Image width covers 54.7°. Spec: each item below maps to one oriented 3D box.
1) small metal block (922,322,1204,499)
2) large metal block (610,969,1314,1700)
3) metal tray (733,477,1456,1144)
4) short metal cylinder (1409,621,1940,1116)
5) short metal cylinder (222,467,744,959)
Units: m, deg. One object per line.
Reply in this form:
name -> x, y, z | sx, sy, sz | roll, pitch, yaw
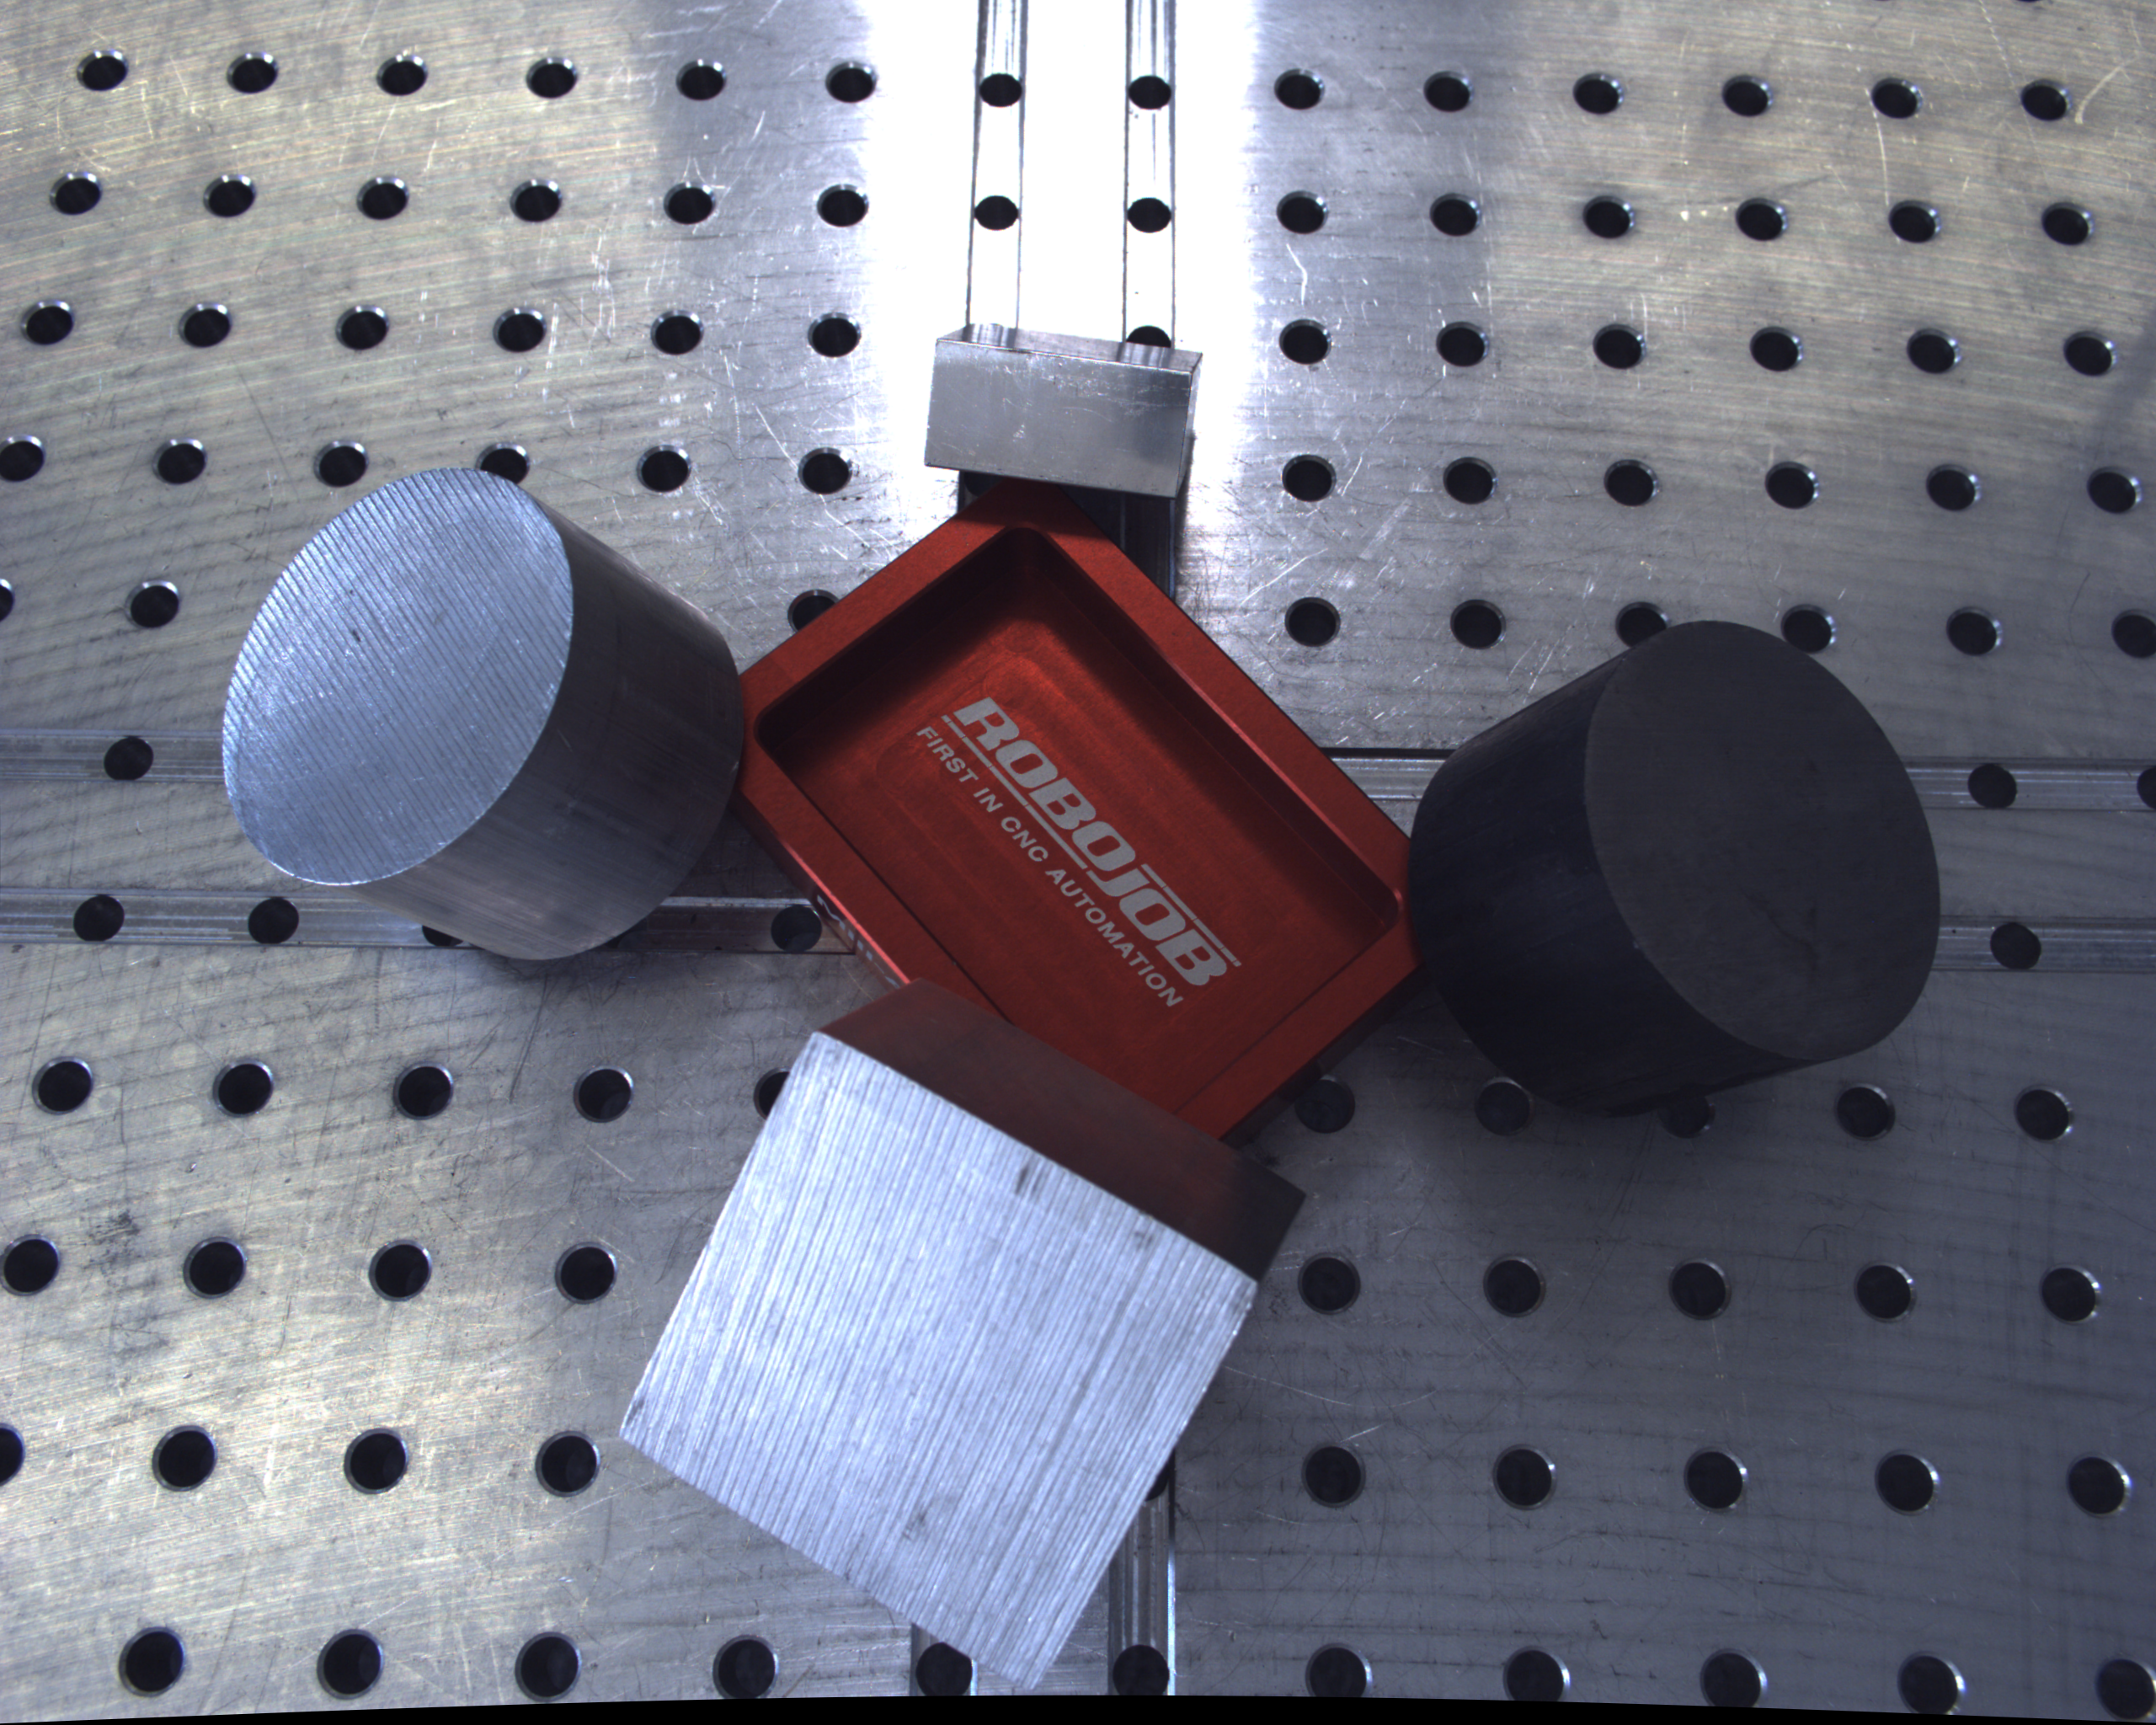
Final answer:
small metal block -> -0.002, -0.094, 0.430 | 0.050, 0.050, 0.025 | 8, 108, 3
large metal block -> -0.018, 0.076, 0.352 | 0.080, 0.050, 0.080 | 29, 103, 10
metal tray -> 0.000, -0.005, 0.410 | 0.090, 0.030, 0.130 | -40, 75, -13
short metal cylinder -> 0.108, 0.002, 0.382 | 0.081, 0.050, 0.080 | 10, 68, -25
short metal cylinder -> -0.111, -0.027, 0.391 | 0.080, 0.050, 0.080 | -9, 69, 24
